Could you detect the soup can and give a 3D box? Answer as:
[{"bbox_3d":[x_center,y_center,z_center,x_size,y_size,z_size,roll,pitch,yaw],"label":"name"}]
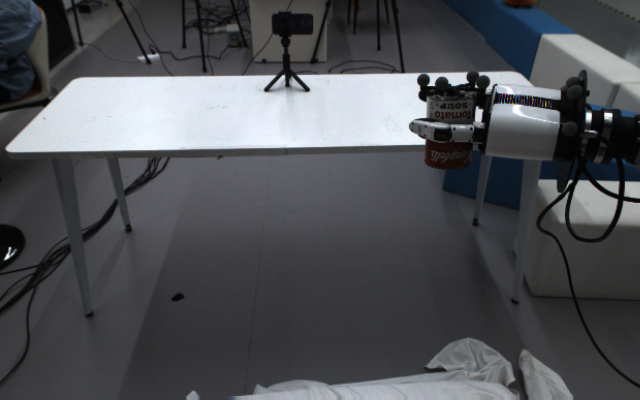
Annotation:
[{"bbox_3d":[0.184,-0.103,0.682,0.067,0.101,0.067,-3,26,2],"label":"soup can"}]
